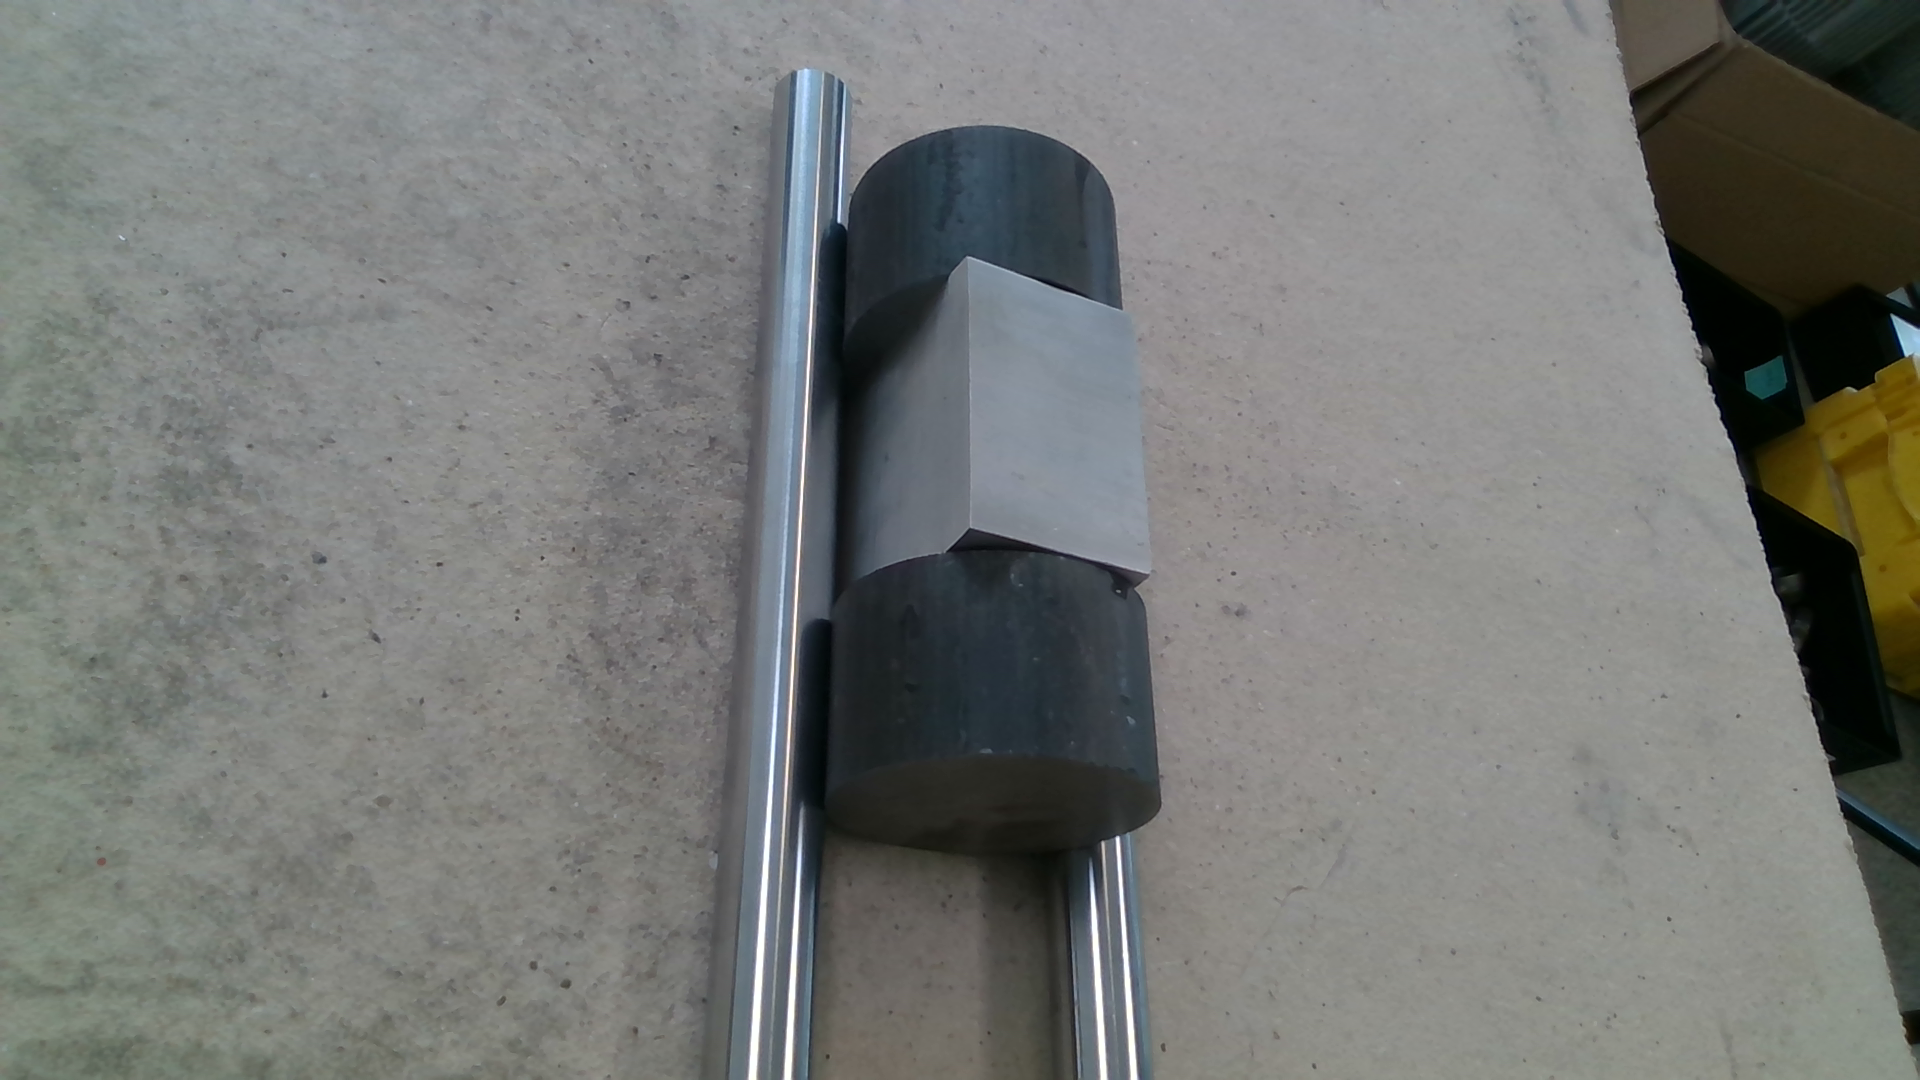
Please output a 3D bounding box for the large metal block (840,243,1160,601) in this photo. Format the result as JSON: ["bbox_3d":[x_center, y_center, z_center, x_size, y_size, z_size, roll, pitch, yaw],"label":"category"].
[{"bbox_3d":[0.007,-0.017,0.368,0.050,0.080,0.080,14,59,-25],"label":"large metal block"}]

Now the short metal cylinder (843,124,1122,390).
[{"bbox_3d":[0.007,-0.073,0.401,0.080,0.080,0.050,13,59,-25],"label":"short metal cylinder"}]

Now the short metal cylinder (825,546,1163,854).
[{"bbox_3d":[0.008,0.042,0.339,0.080,0.080,0.050,13,59,-25],"label":"short metal cylinder"}]

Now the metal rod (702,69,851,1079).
[{"bbox_3d":[-0.046,-0.009,0.370,0.025,0.025,0.299,14,59,-25],"label":"metal rod"}]

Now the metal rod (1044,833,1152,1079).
[{"bbox_3d":[0.034,0.011,0.409,0.025,0.025,0.299,14,59,-25],"label":"metal rod"}]
